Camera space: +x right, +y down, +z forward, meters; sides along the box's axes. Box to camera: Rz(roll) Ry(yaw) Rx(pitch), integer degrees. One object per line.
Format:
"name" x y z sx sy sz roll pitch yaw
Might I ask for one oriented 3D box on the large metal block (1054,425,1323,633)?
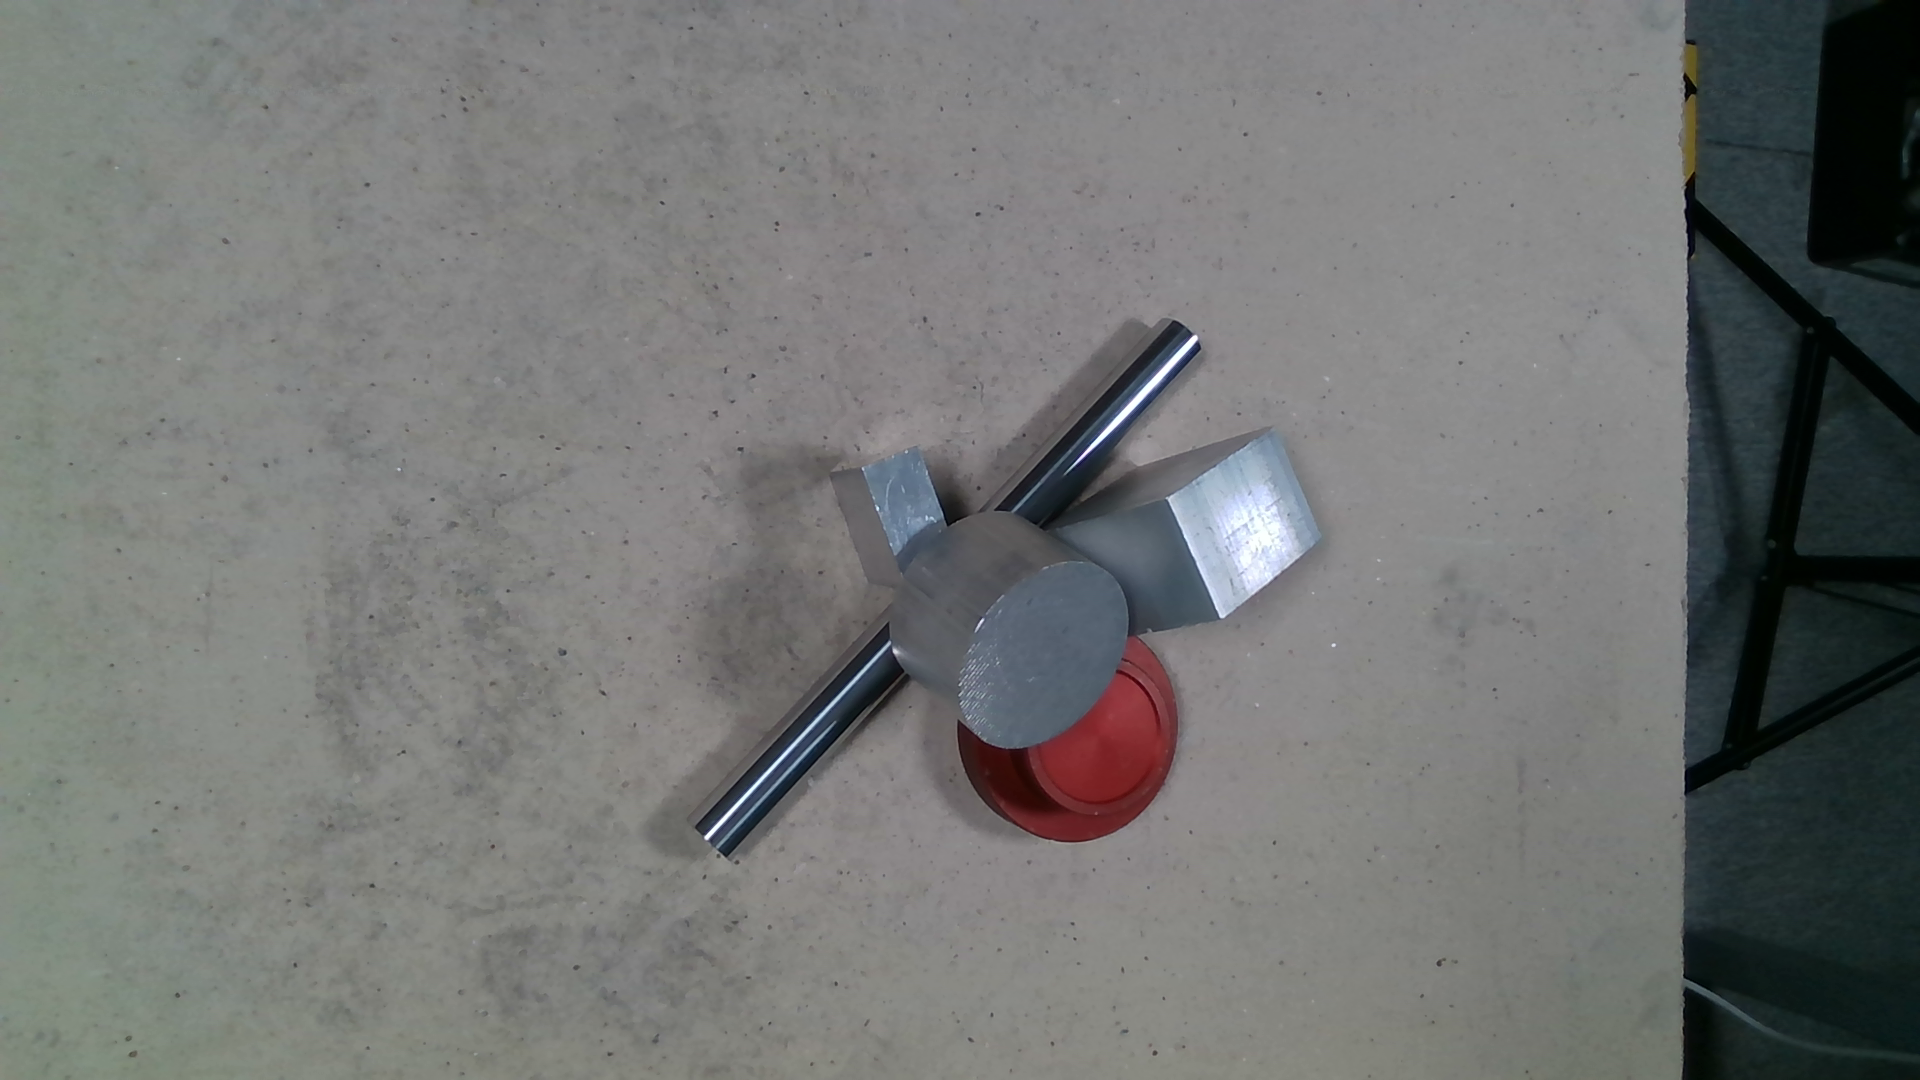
"large metal block" 0.090 -0.002 0.579 0.080 0.080 0.050 -32 100 -40

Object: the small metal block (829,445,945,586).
"small metal block" -0.028 -0.009 0.563 0.025 0.050 0.050 -23 98 -20

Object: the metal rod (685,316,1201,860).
"metal rod" -0.001 0.014 0.586 0.300 0.025 0.025 -47 105 -14

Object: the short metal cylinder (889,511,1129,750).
"short metal cylinder" 0.019 0.035 0.540 0.080 0.050 0.080 -17 122 -30

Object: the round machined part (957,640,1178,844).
"round machined part" 0.051 0.083 0.596 0.098 0.042 0.098 0 90 -20
